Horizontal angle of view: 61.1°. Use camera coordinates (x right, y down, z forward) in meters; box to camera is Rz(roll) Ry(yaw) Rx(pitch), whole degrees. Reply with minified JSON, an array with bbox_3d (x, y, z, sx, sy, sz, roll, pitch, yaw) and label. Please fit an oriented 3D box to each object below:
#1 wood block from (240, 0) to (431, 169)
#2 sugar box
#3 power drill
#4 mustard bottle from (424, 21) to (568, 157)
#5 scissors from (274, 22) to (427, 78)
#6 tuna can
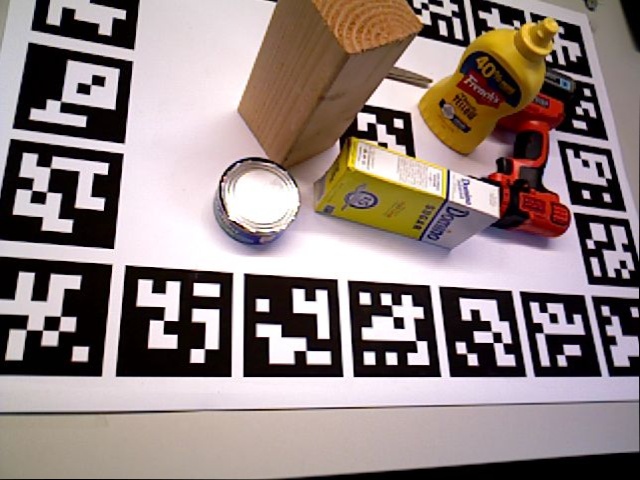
[{"bbox_3d":[0.001,-0.160,0.526,0.089,0.210,0.090,-26,83,-27],"label":"wood block"},{"bbox_3d":[0.104,-0.040,0.578,0.175,0.095,0.045,17,62,-16],"label":"sugar box"},{"bbox_3d":[0.227,-0.104,0.665,0.183,0.058,0.185,17,74,-14],"label":"power drill"},{"bbox_3d":[0.201,-0.176,0.613,0.057,0.195,0.096,-39,89,-27],"label":"mustard bottle"},{"bbox_3d":[0.042,-0.219,0.658,0.200,0.016,0.087,7,66,-18],"label":"scissors"},{"bbox_3d":[-0.059,-0.037,0.545,0.085,0.034,0.085,7,71,-19],"label":"tuna can"}]
